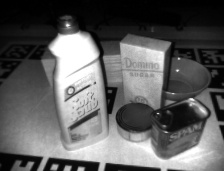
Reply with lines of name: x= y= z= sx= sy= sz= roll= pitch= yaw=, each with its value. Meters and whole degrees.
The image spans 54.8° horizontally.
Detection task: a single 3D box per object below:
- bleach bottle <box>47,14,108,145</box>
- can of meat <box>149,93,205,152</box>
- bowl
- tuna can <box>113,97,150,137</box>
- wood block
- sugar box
bleach bottle: x=-0.067 y=-0.001 z=0.393 sx=0.103 sy=0.252 sz=0.067 roll=-16 pitch=40 yaw=-11
can of meat: x=0.122 y=0.073 z=0.424 sx=0.102 sy=0.084 sz=0.057 roll=-17 pitch=38 yaw=-16
bowl: x=0.164 y=-0.028 z=0.555 sx=0.161 sy=0.055 sz=0.161 roll=-5 pitch=39 yaw=5
tuna can: x=0.043 y=0.067 z=0.466 sx=0.085 sy=0.034 sz=0.085 roll=-3 pitch=43 yaw=4
wood block: x=-0.085 y=-0.077 z=0.614 sx=0.206 sy=0.090 sz=0.090 roll=-4 pitch=44 yaw=0
sugar box: x=0.069 y=-0.026 z=0.463 sx=0.092 sy=0.178 sz=0.045 roll=14 pitch=46 yaw=27
